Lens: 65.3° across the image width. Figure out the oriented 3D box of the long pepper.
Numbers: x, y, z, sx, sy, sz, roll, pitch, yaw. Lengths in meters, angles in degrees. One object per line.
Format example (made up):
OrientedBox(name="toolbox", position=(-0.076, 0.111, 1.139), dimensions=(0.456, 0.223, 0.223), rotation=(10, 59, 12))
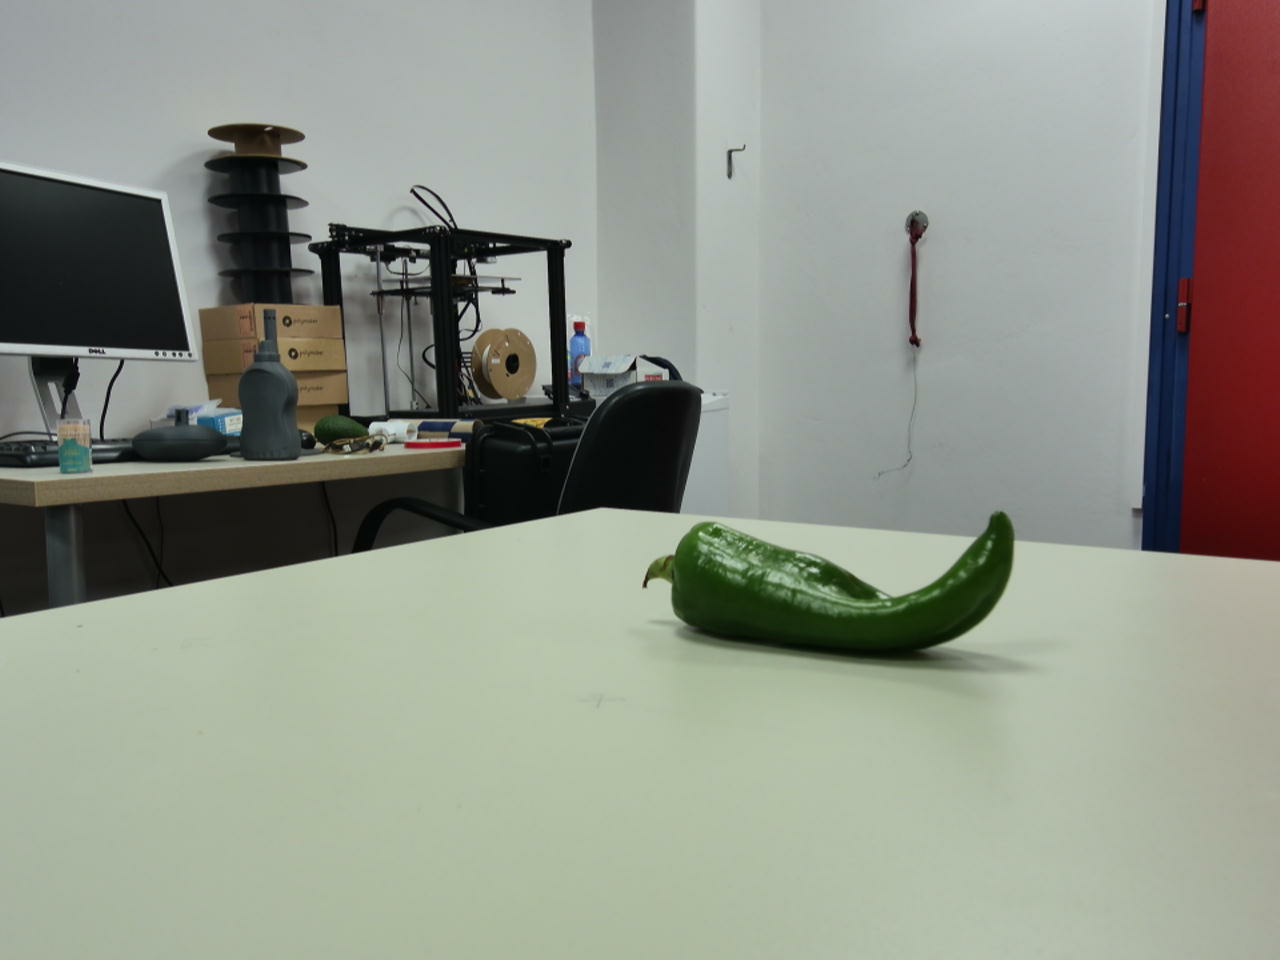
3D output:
OrientedBox(name="long pepper", position=(0.077, 0.042, 0.456), dimensions=(0.175, 0.065, 0.058), rotation=(3, 4, 36))
